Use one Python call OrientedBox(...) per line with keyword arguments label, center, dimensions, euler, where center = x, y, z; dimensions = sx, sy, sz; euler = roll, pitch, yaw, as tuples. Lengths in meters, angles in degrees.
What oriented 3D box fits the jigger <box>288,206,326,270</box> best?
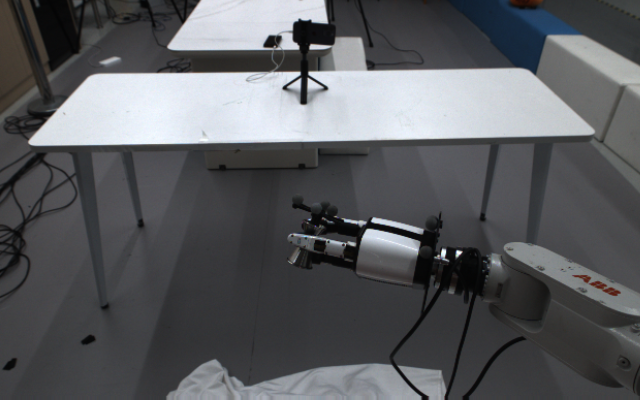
OrientedBox(label="jigger", center=(-0.021, 0.066, 0.743), dimensions=(0.043, 0.071, 0.043), euler=(21, 6, -2))
